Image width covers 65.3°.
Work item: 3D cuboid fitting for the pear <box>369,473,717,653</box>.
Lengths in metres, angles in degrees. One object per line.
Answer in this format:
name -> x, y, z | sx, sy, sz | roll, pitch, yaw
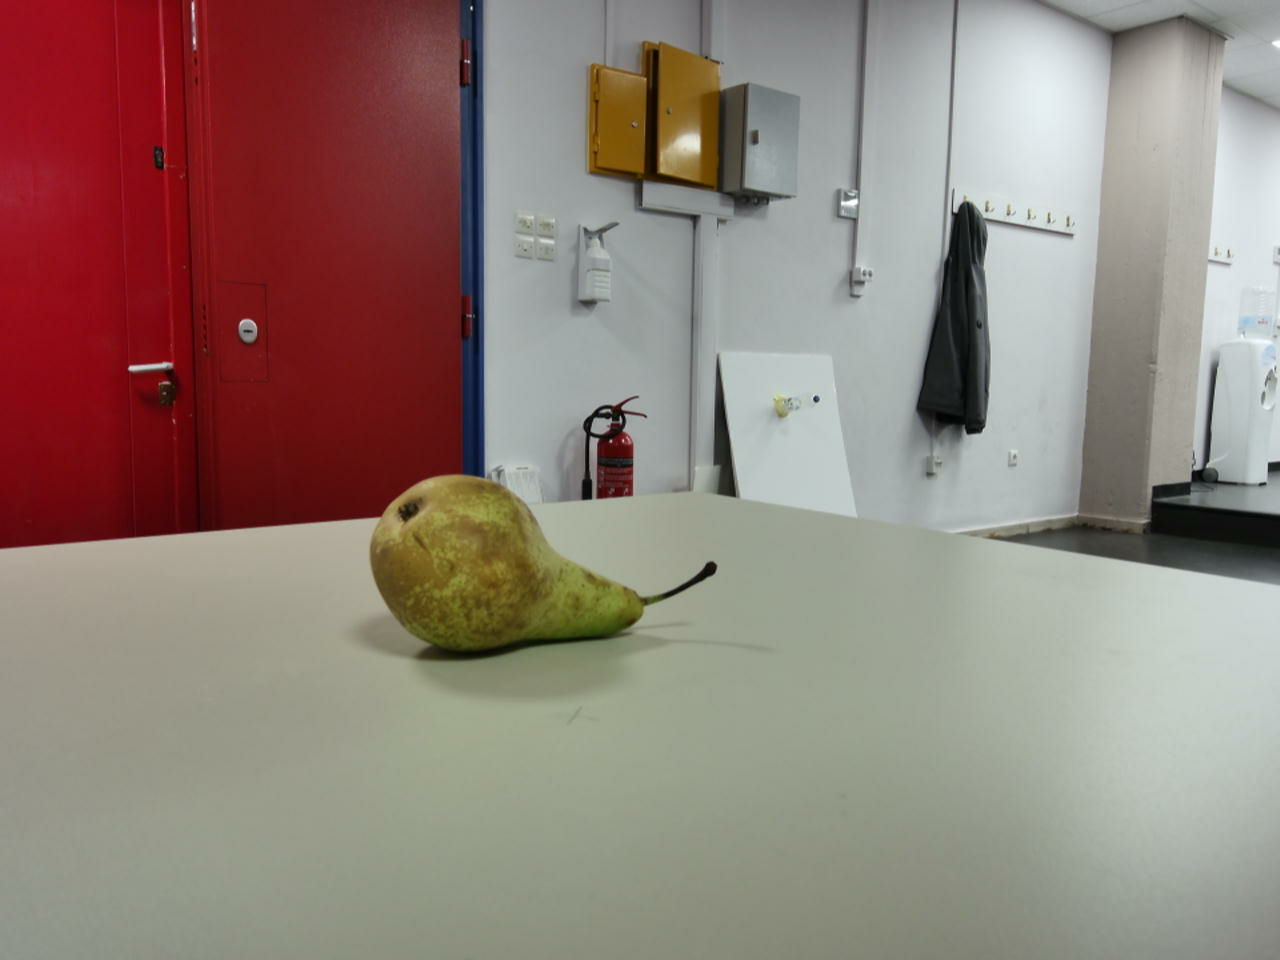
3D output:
pear -> -0.046, 0.034, 0.441 | 0.144, 0.075, 0.072 | -3, 5, -31
